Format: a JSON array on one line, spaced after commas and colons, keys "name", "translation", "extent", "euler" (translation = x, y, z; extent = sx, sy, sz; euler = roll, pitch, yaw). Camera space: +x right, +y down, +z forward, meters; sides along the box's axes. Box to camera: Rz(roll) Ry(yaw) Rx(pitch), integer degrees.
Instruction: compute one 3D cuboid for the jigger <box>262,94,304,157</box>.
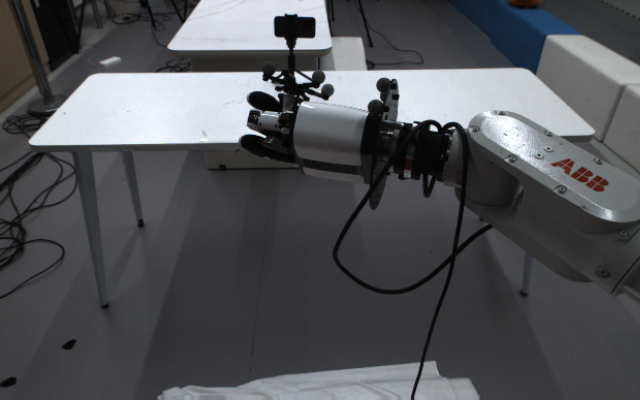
[{"name": "jigger", "translation": [-0.042, -0.097, 0.623], "extent": [0.043, 0.071, 0.043], "euler": [15, -7, 2]}]
